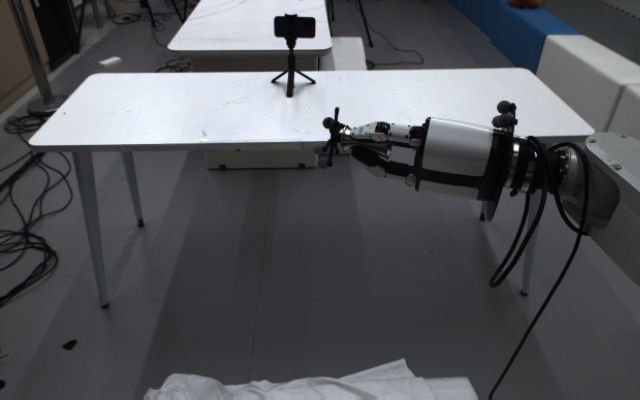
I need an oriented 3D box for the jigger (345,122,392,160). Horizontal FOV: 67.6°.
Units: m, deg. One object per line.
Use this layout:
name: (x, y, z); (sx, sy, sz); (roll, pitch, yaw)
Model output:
jigger: (0.074, -0.090, 0.701); (0.071, 0.043, 0.043); (9, 35, 16)
